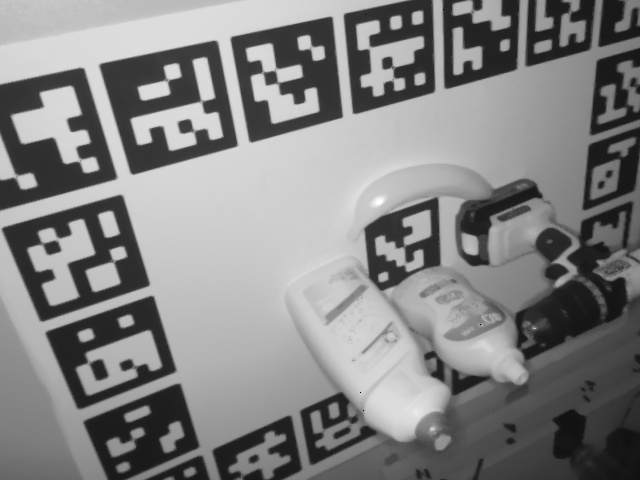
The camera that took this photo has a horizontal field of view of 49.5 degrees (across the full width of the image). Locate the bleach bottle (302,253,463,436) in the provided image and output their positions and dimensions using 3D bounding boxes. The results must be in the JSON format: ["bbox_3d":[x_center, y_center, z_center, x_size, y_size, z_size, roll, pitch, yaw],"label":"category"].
[{"bbox_3d":[0.070,0.101,0.684,0.103,0.249,0.067,-25,120,-12],"label":"bleach bottle"}]

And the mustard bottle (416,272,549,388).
[{"bbox_3d":[0.190,0.104,0.767,0.097,0.191,0.058,-17,119,-15],"label":"mustard bottle"}]

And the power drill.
[{"bbox_3d":[0.281,0.027,0.754,0.186,0.186,0.057,-20,126,-13],"label":"power drill"}]

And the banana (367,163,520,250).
[{"bbox_3d":[0.136,-0.048,0.762,0.200,0.038,0.074,-16,114,-20],"label":"banana"}]
